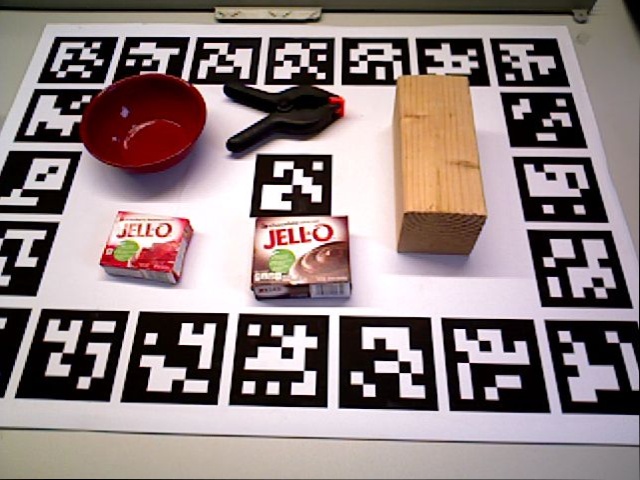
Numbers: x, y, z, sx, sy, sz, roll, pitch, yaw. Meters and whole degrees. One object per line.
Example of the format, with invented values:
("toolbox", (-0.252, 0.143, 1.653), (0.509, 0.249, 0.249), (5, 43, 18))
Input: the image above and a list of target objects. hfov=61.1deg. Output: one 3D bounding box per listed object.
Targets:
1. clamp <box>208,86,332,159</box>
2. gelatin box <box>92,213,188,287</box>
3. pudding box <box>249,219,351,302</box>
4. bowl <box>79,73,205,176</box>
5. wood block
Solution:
("clamp", (-0.065, -0.167, 0.731), (0.164, 0.037, 0.120), (-7, 60, -5))
("gelatin box", (-0.206, 0.010, 0.627), (0.089, 0.030, 0.072), (8, 62, 6))
("pudding box", (-0.021, 0.023, 0.613), (0.113, 0.039, 0.089), (-1, 64, 3))
("bowl", (-0.227, -0.140, 0.707), (0.161, 0.056, 0.159), (0, 63, 0))
("wood block", (0.140, -0.087, 0.641), (0.089, 0.092, 0.203), (4, 61, 1))
